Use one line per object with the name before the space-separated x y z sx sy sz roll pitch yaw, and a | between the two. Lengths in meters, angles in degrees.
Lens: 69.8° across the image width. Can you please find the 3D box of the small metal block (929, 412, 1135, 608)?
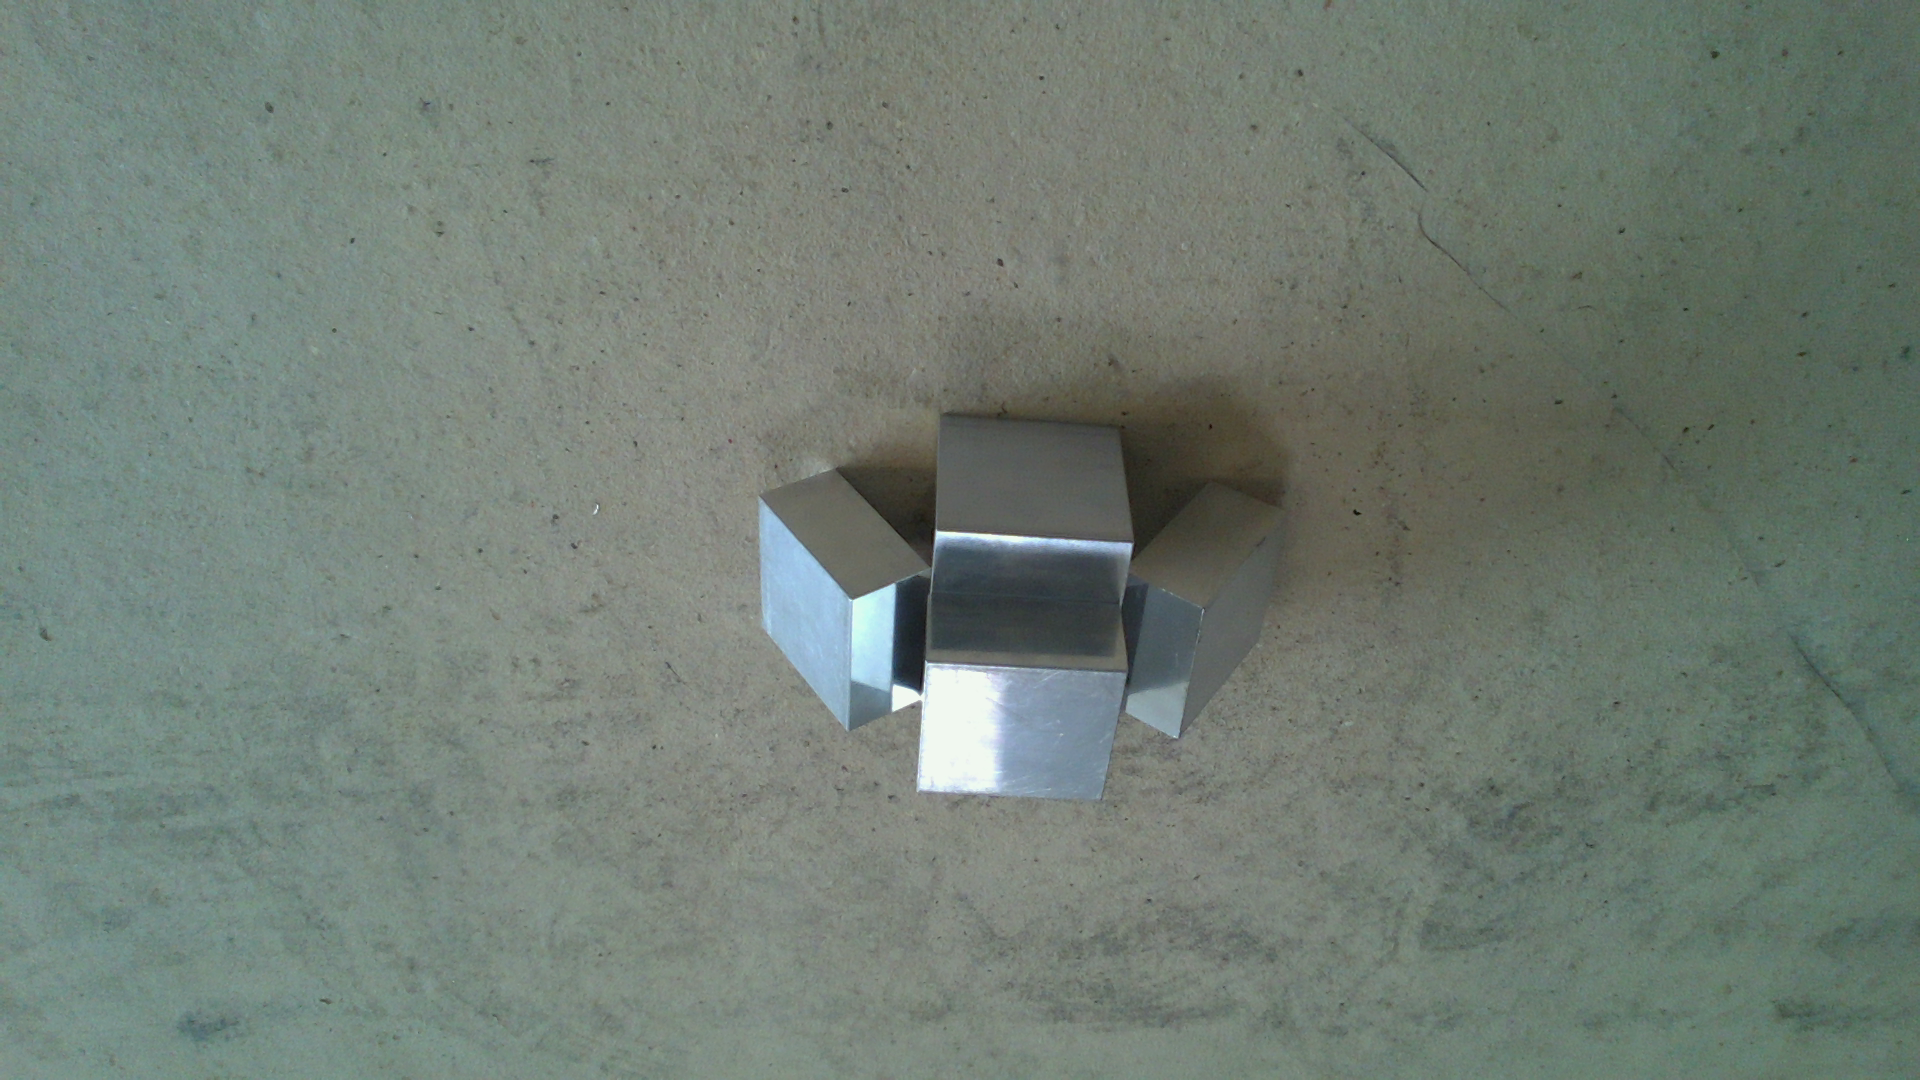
small metal block | 0.018 -0.008 0.368 0.050 0.050 0.025 3 131 -3

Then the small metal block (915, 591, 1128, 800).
small metal block | 0.015 0.041 0.362 0.050 0.025 0.050 3 130 -2

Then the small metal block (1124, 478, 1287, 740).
small metal block | 0.066 0.019 0.388 0.025 0.050 0.050 26 136 25

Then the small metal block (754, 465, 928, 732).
small metal block | -0.034 0.016 0.386 0.025 0.050 0.050 -22 137 -29

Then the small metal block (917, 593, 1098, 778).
small metal block | 0.013 0.043 0.412 0.050 0.050 0.025 2 131 -2
